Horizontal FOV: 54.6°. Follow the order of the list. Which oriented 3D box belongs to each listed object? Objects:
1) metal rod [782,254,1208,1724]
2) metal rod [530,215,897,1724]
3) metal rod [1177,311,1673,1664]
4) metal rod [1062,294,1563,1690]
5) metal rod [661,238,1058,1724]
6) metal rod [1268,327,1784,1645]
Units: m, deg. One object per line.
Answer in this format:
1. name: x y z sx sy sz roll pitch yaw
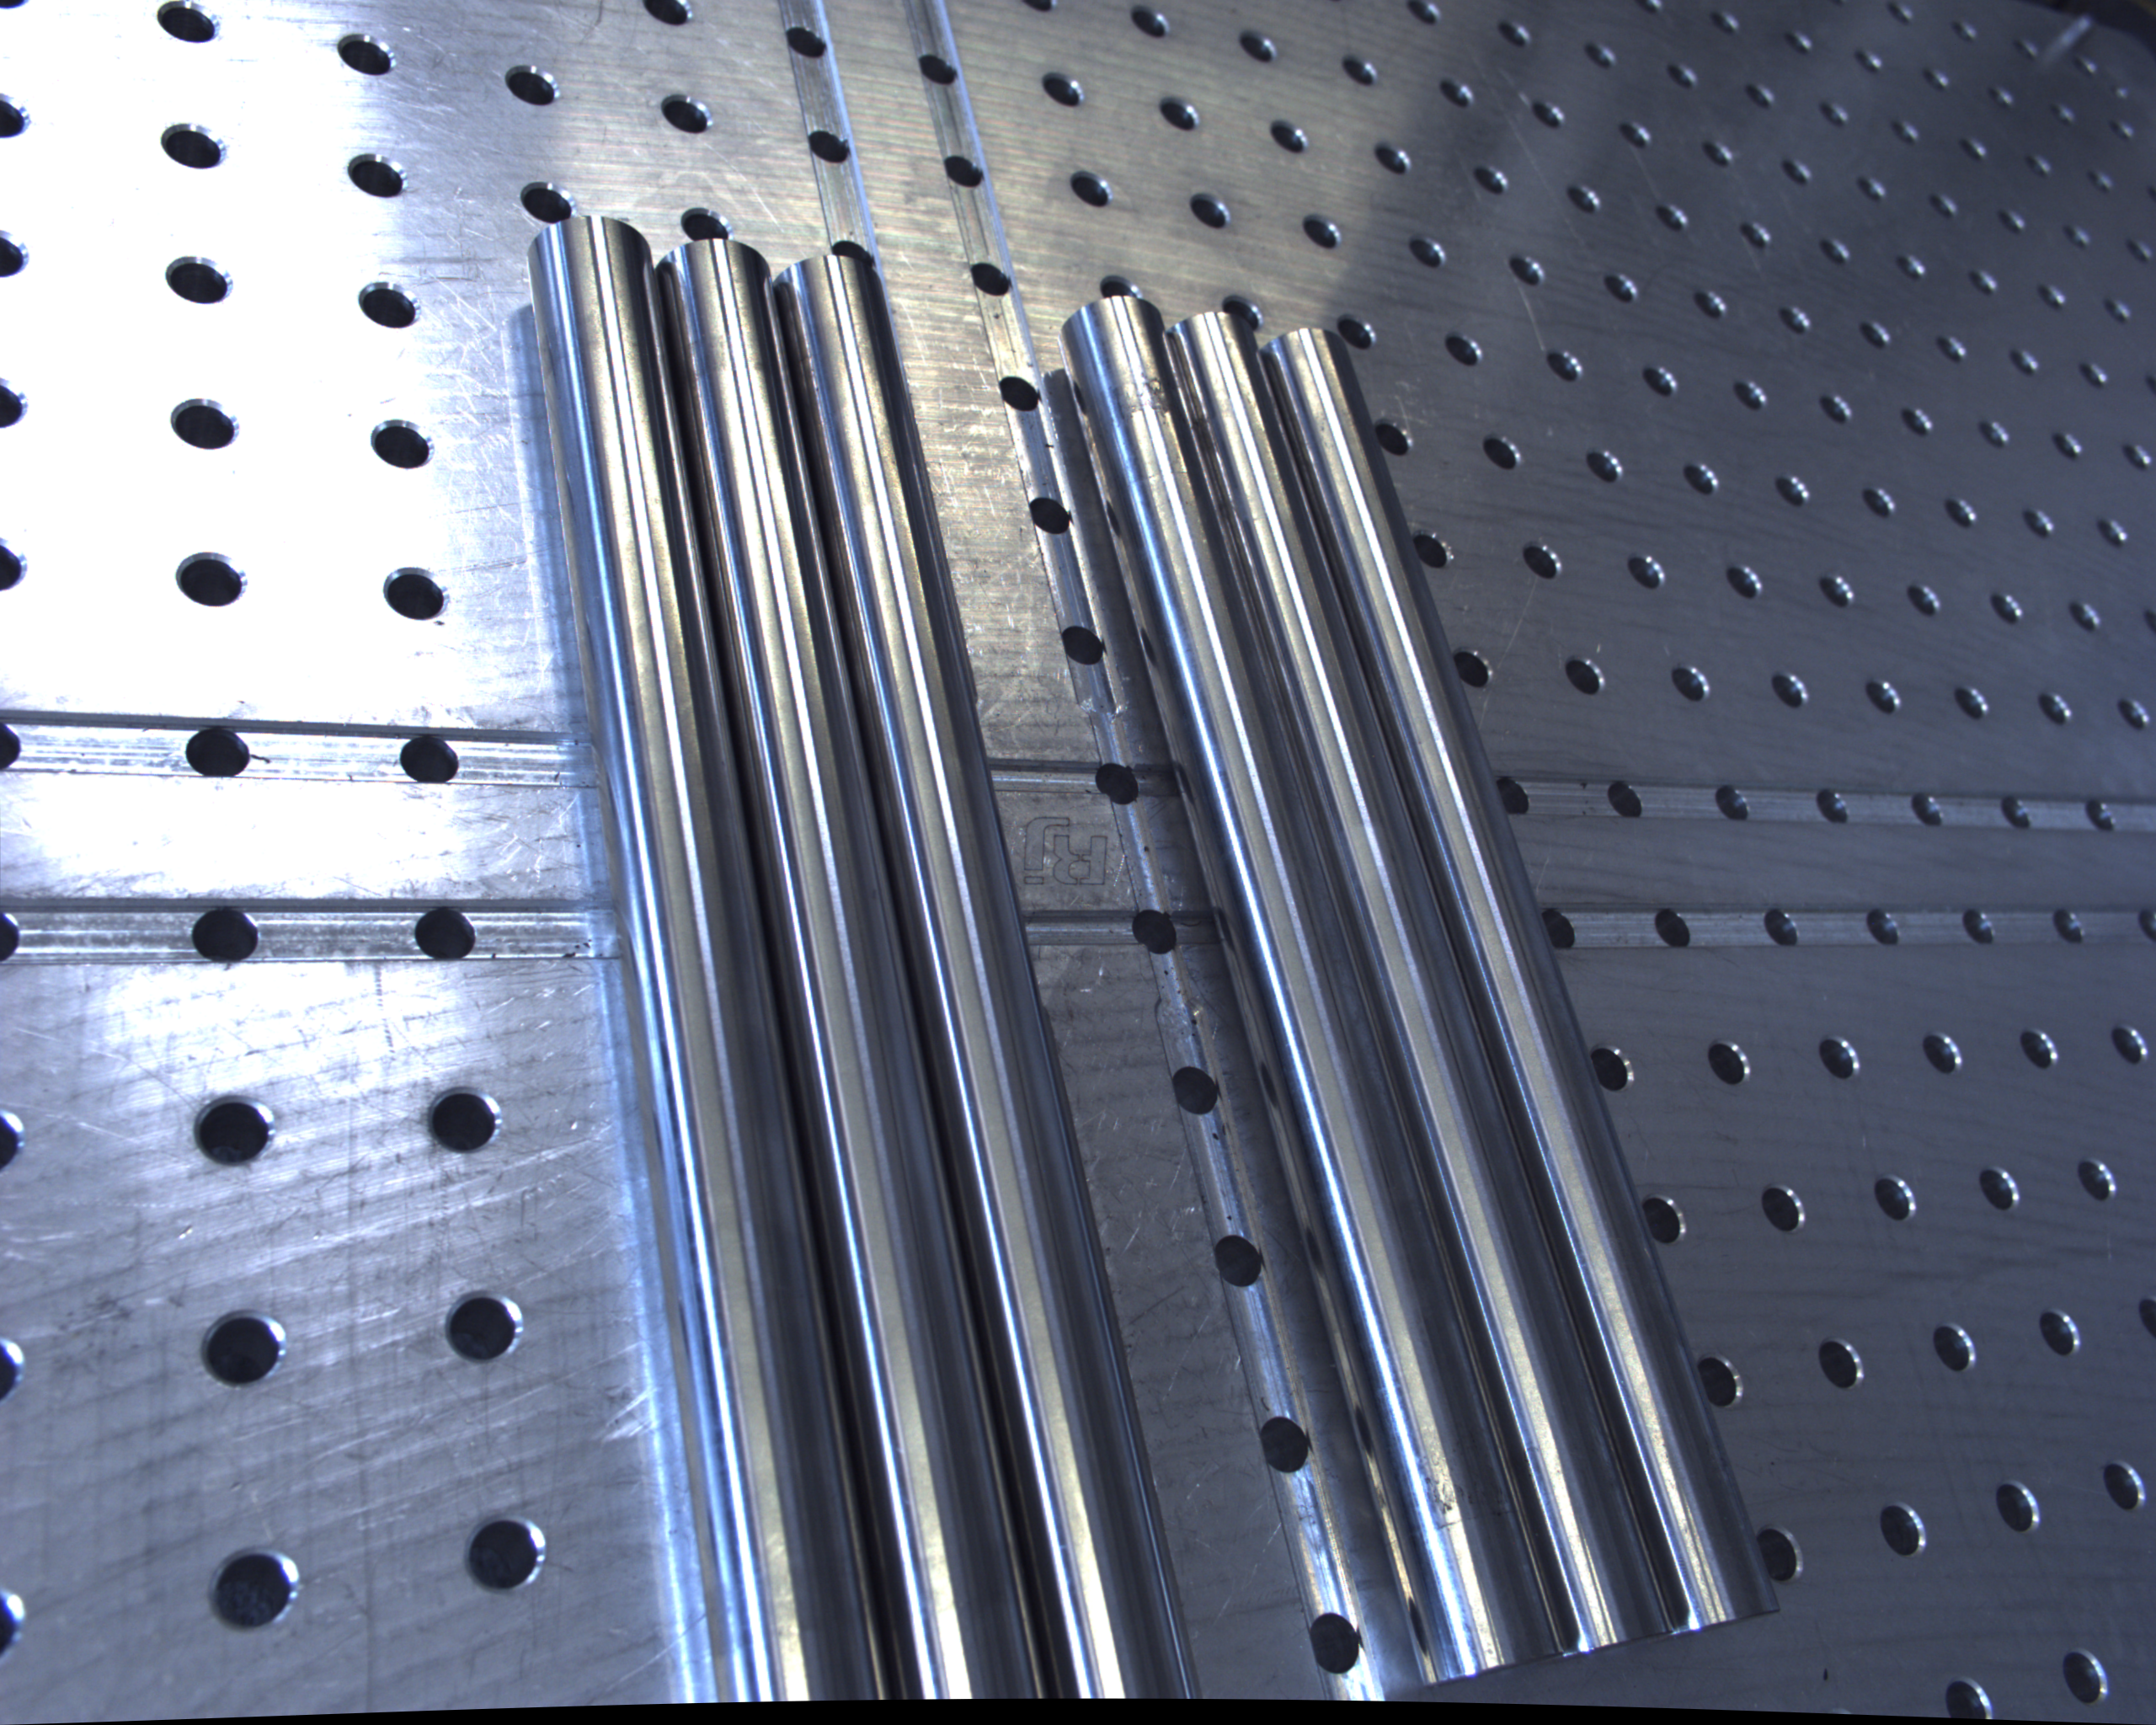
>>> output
1. metal rod: -0.023 0.009 0.389 0.025 0.025 0.299 1 61 -28
2. metal rod: -0.068 0.008 0.366 0.025 0.025 0.299 1 61 -28
3. metal rod: 0.062 0.009 0.435 0.025 0.025 0.299 1 61 -28
4. metal rod: 0.040 0.008 0.423 0.025 0.025 0.299 1 61 -28
5. metal rod: -0.045 0.009 0.377 0.025 0.025 0.299 1 61 -28
6. metal rod: 0.086 0.009 0.447 0.025 0.025 0.299 1 61 -28
